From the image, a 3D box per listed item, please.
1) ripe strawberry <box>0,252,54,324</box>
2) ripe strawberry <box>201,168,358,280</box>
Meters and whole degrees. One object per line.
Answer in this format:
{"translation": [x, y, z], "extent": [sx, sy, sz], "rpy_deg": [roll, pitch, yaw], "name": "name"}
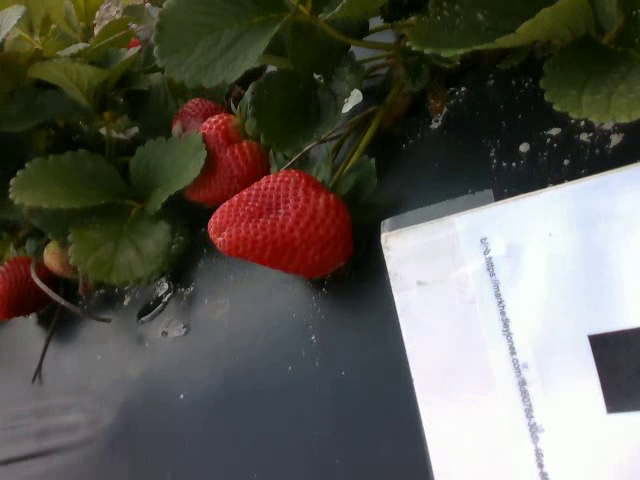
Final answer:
{"translation": [-0.184, 0.032, 0.366], "extent": [0.041, 0.052, 0.043], "rpy_deg": [39, -60, -22], "name": "ripe strawberry"}
{"translation": [-0.021, -0.004, 0.258], "extent": [0.056, 0.057, 0.064], "rpy_deg": [39, 35, 24], "name": "ripe strawberry"}
